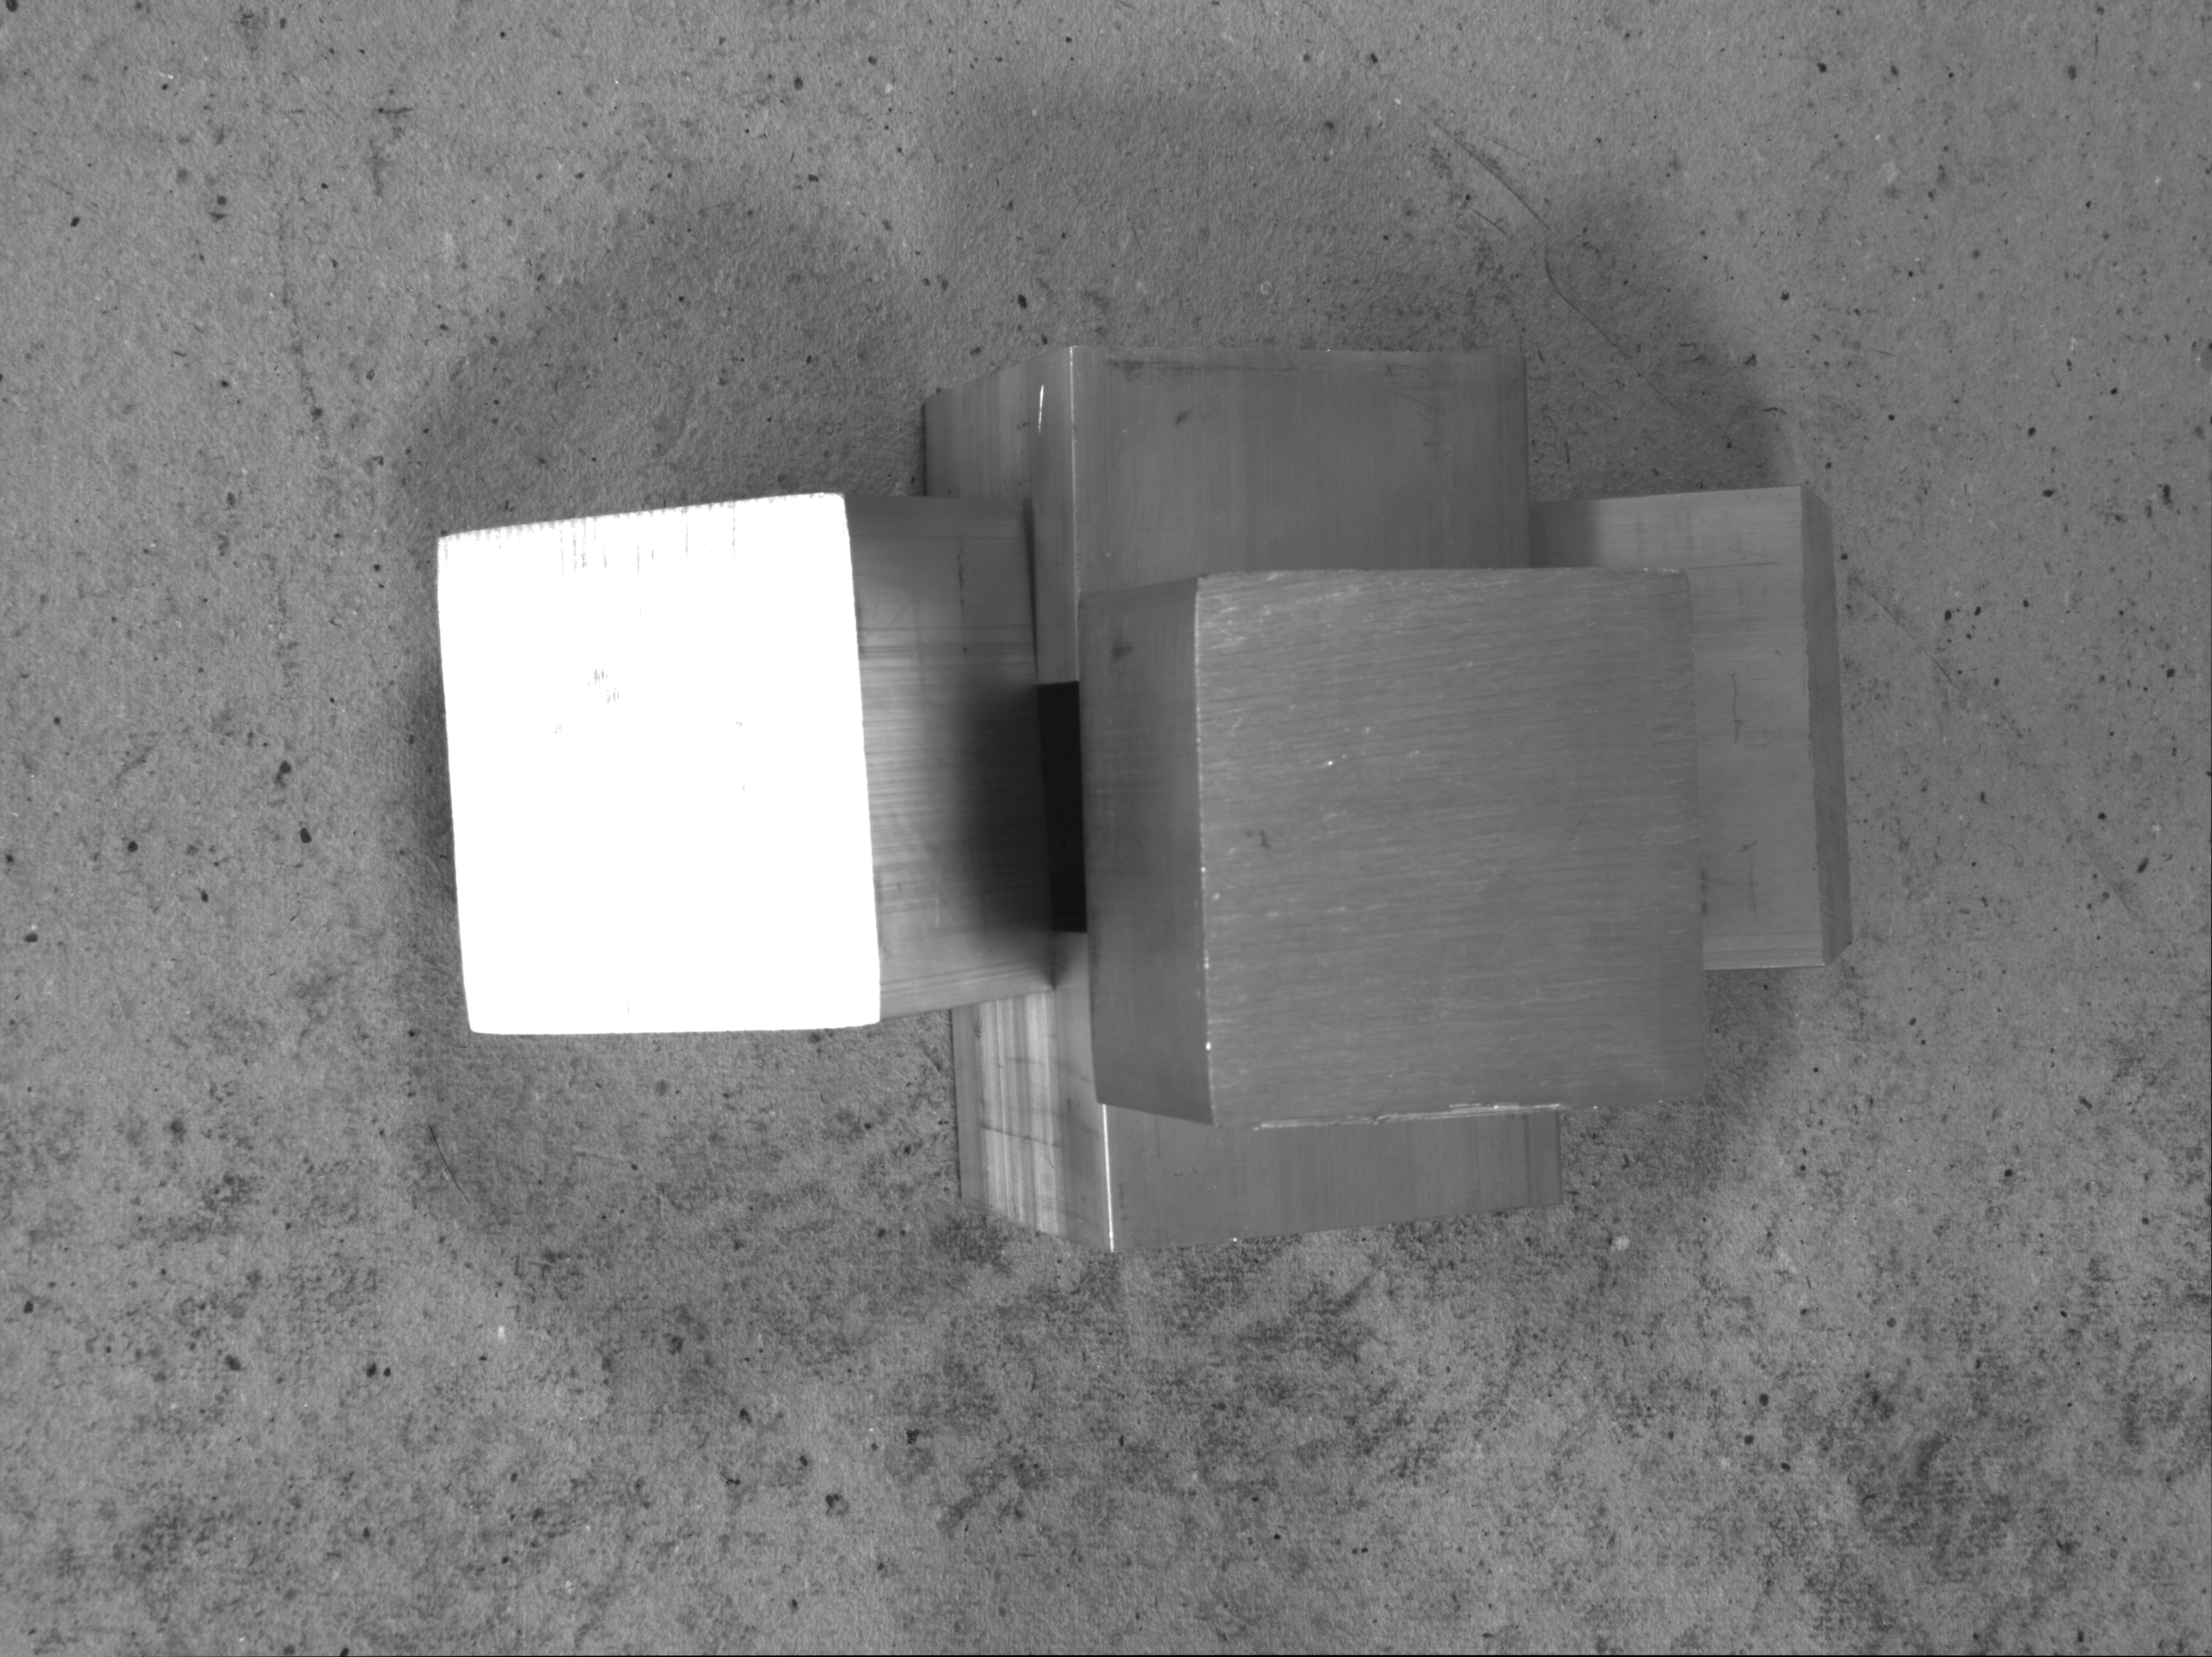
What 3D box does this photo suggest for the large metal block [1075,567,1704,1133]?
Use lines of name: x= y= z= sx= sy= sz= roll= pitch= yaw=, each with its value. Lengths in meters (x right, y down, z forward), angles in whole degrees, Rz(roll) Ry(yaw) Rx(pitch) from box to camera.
large metal block: x=0.042 y=0.002 z=0.560 sx=0.080 sy=0.050 sz=0.080 roll=-2 pitch=91 yaw=-20

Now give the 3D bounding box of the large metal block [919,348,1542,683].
large metal block: x=0.019 y=-0.051 z=0.621 sx=0.080 sy=0.080 sz=0.050 roll=-2 pitch=91 yaw=-20

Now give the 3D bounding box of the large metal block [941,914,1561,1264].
large metal block: x=0.022 y=0.041 z=0.623 sx=0.080 sy=0.080 sz=0.050 roll=-4 pitch=91 yaw=-19

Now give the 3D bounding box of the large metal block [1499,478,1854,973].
large metal block: x=0.102 y=-0.017 z=0.643 sx=0.050 sy=0.080 sz=0.080 roll=-3 pitch=91 yaw=15

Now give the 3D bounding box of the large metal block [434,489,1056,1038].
large metal block: x=-0.057 y=-0.010 z=0.586 sx=0.050 sy=0.080 sz=0.080 roll=-5 pitch=91 yaw=-60
